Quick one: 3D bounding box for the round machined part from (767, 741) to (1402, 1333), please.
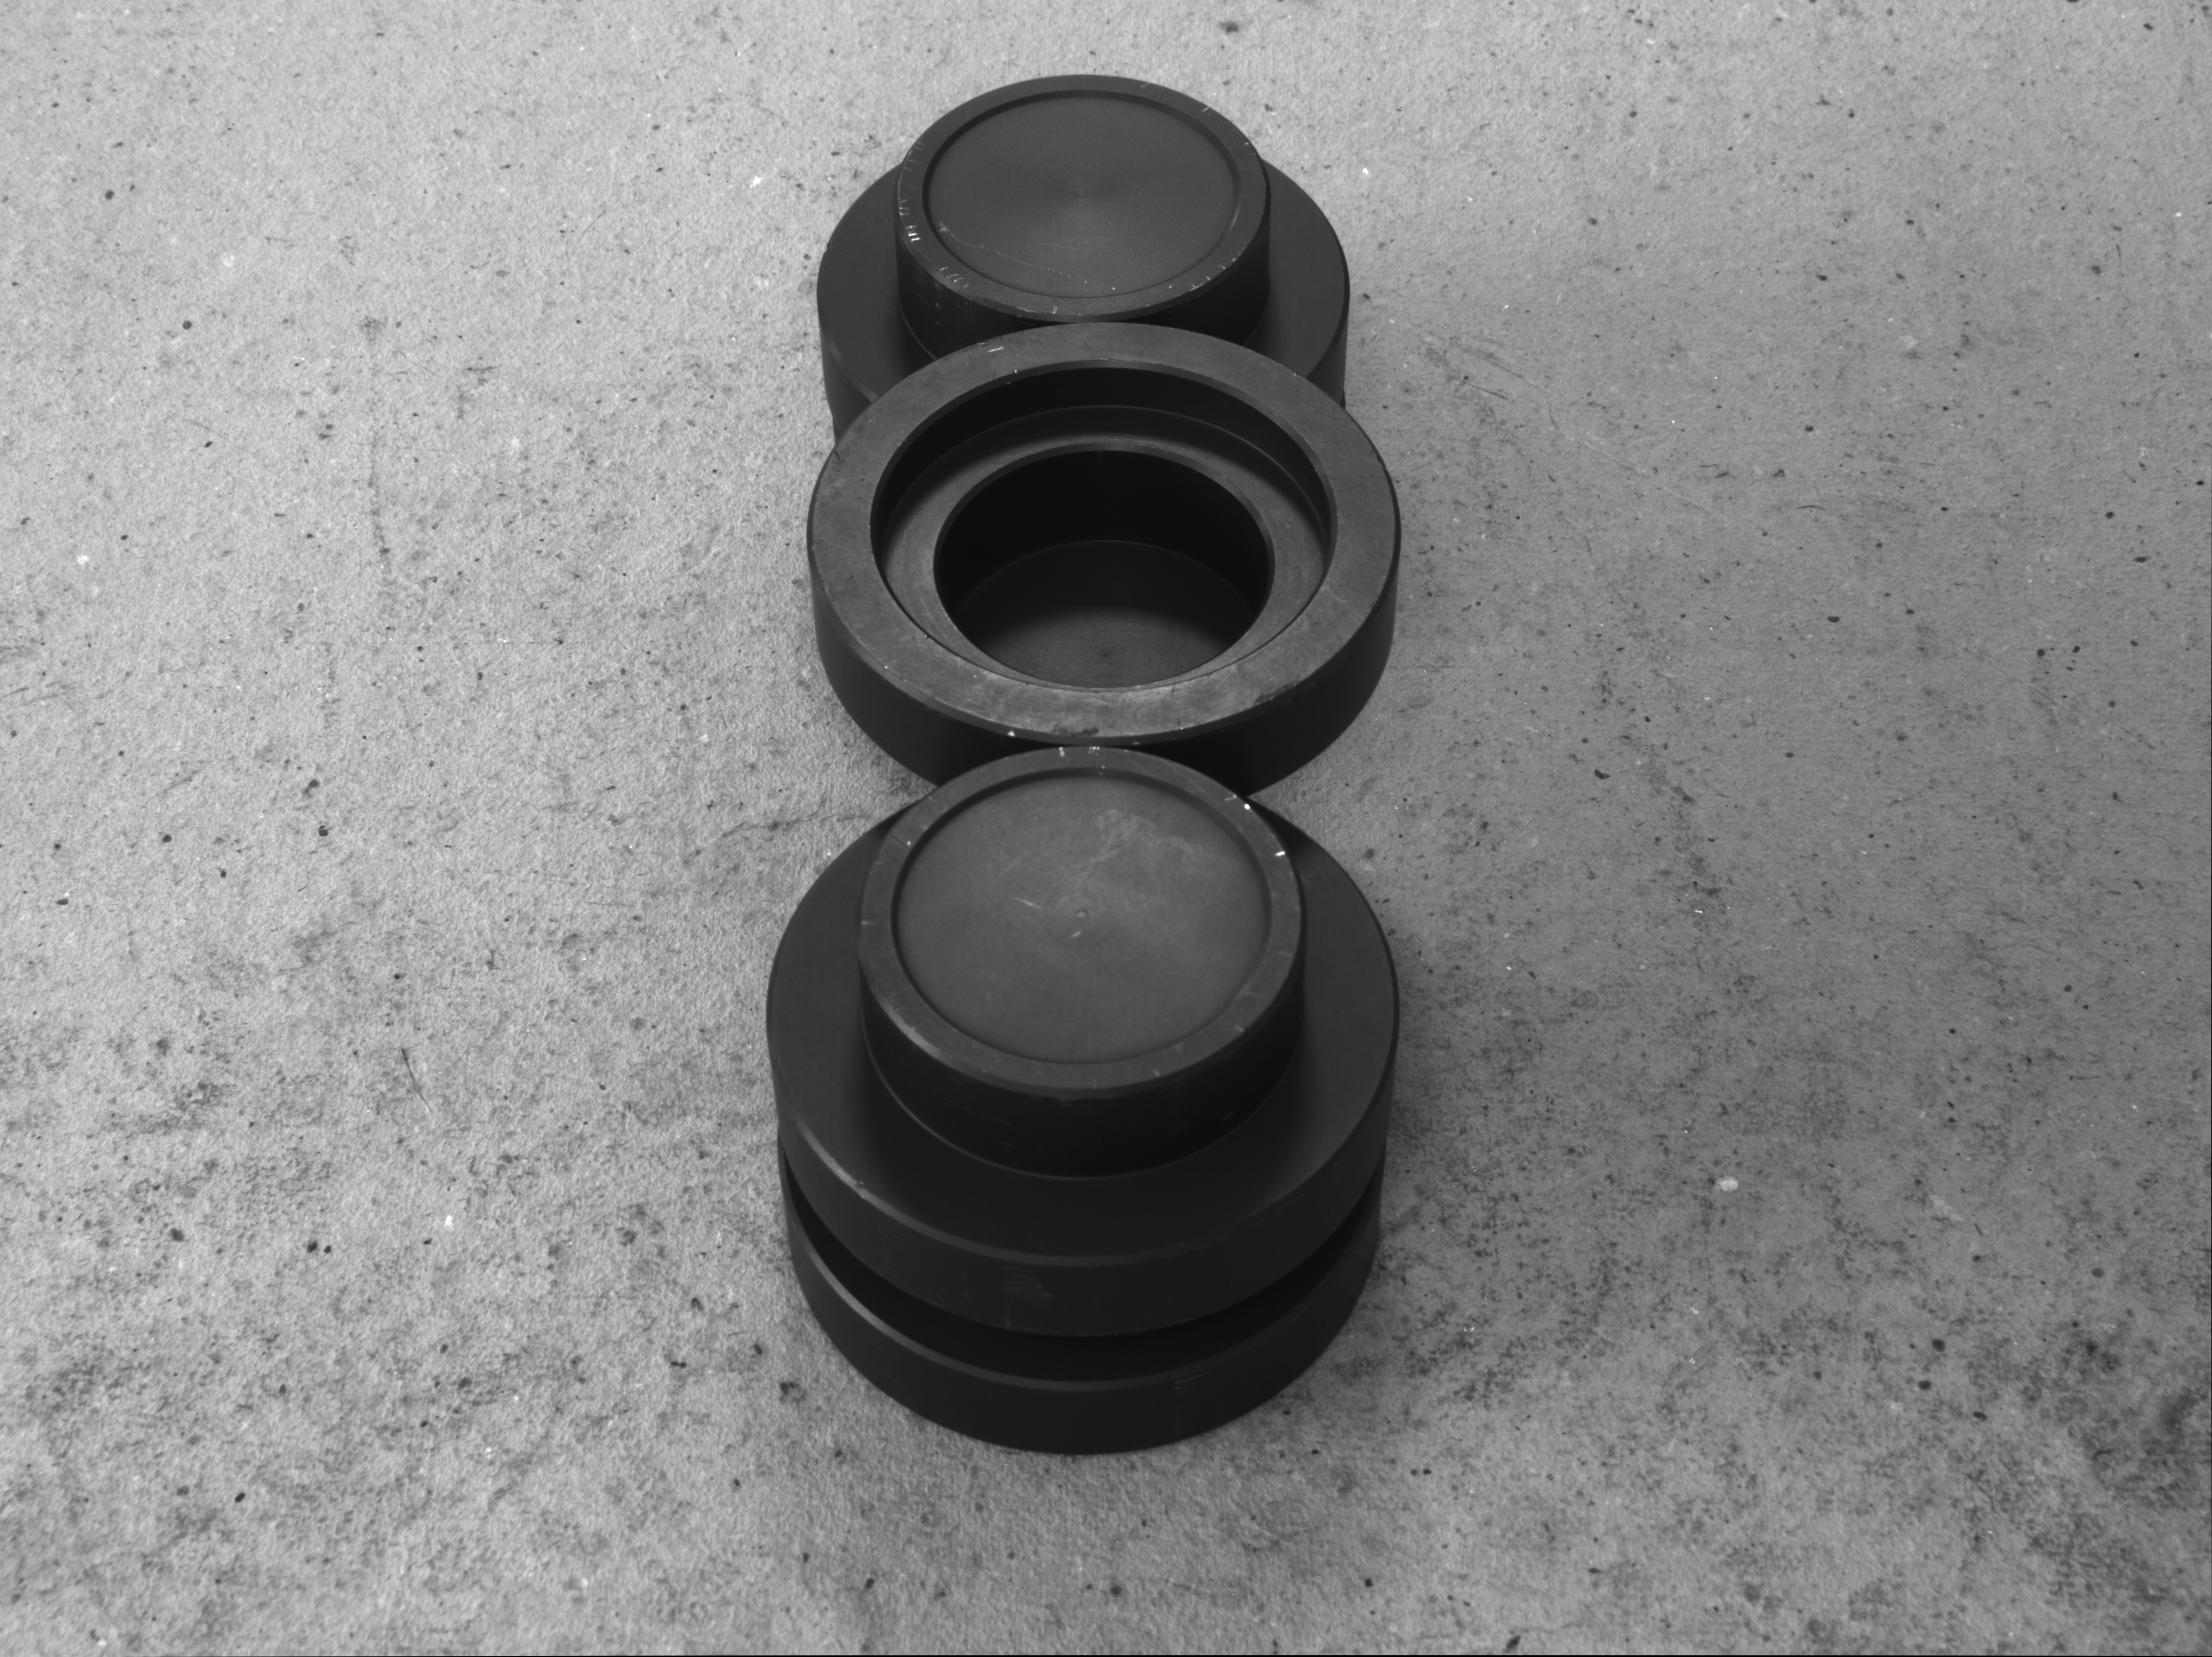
[{"bbox_3d":[-0.003,0.025,0.566,0.098,0.042,0.098,-1,50,1],"label":"round machined part"}]

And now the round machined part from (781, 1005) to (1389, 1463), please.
[{"bbox_3d":[-0.003,0.049,0.591,0.098,0.042,0.098,-1,49,1],"label":"round machined part"}]

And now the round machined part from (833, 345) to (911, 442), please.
[{"bbox_3d":[-0.003,-0.082,0.700,0.098,0.042,0.098,-1,50,2],"label":"round machined part"}]

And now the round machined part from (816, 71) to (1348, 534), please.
[{"bbox_3d":[-0.005,-0.101,0.674,0.098,0.042,0.098,-1,50,1],"label":"round machined part"}]

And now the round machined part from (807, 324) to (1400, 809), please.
[{"bbox_3d":[0.000,-0.037,0.621,0.098,0.042,0.098,0,50,0],"label":"round machined part"}]
